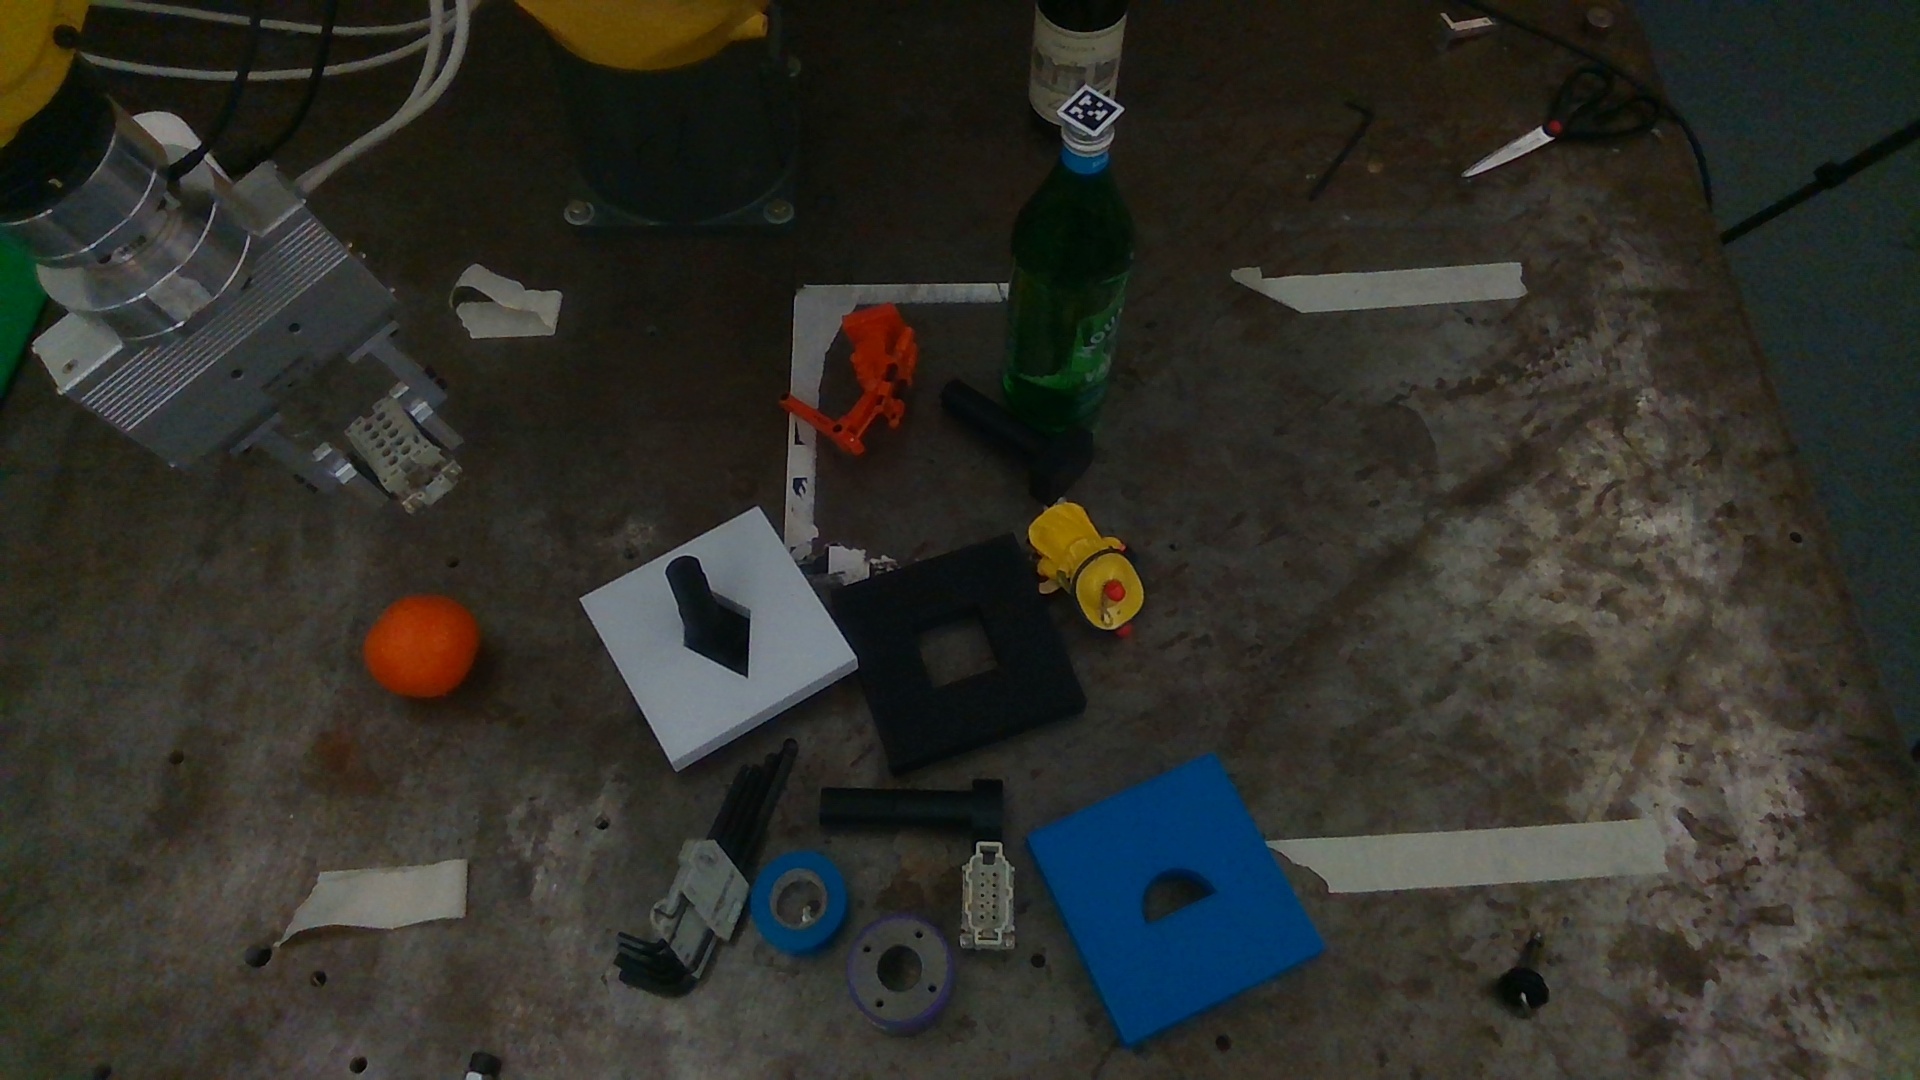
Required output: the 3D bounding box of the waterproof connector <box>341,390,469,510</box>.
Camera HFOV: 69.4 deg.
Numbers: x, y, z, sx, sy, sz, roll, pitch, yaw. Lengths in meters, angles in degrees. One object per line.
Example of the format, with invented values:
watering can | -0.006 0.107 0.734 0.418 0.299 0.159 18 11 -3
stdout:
waterproof connector | -0.295 -0.047 0.736 0.036 0.038 0.069 -42 71 -12
